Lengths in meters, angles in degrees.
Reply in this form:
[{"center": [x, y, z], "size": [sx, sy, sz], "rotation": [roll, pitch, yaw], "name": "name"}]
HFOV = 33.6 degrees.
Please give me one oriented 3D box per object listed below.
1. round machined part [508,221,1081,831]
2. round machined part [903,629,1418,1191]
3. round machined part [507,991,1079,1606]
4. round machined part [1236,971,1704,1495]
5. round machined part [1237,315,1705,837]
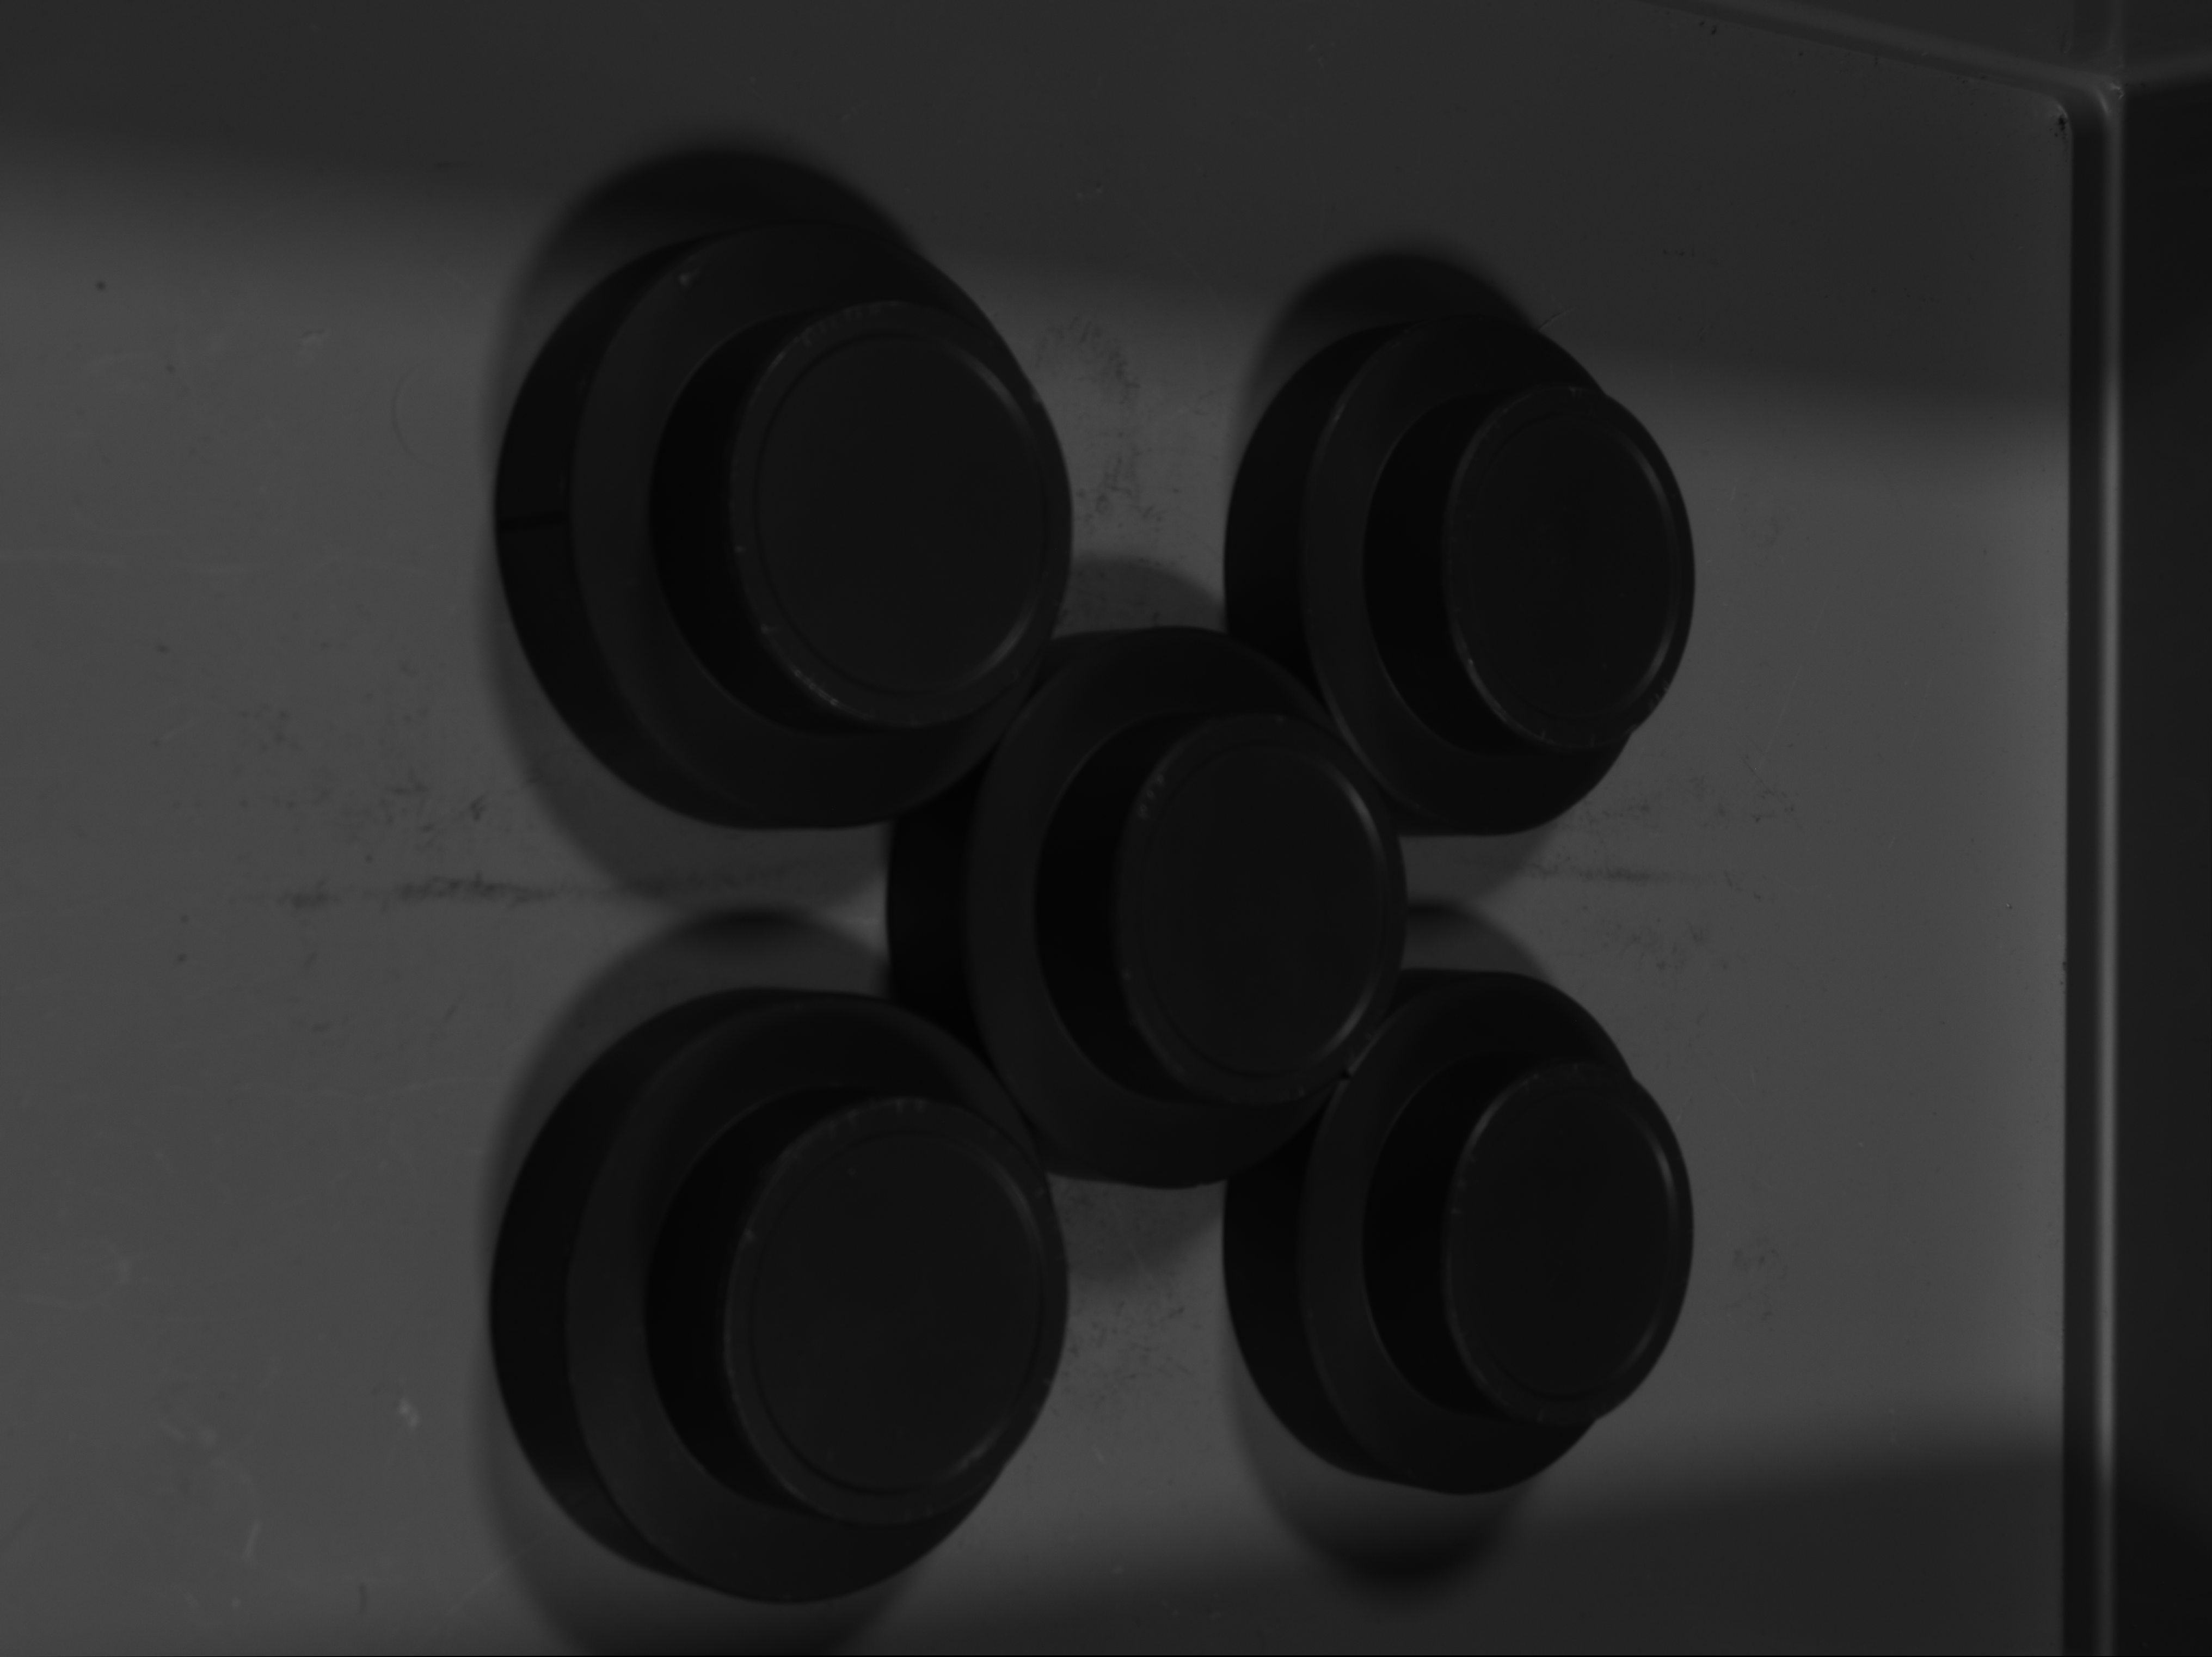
[{"center": [-0.043, -0.049, 0.589], "size": [0.098, 0.042, 0.098], "rotation": [0, 90, -40], "name": "round machined part"}, {"center": [0.016, 0.014, 0.638], "size": [0.098, 0.042, 0.098], "rotation": [0, 90, -40], "name": "round machined part"}, {"center": [-0.043, 0.076, 0.589], "size": [0.098, 0.042, 0.098], "rotation": [0, 90, -40], "name": "round machined part"}, {"center": [0.074, 0.076, 0.687], "size": [0.098, 0.042, 0.098], "rotation": [0, 90, -40], "name": "round machined part"}, {"center": [0.075, -0.047, 0.687], "size": [0.098, 0.042, 0.098], "rotation": [0, 90, -40], "name": "round machined part"}]
